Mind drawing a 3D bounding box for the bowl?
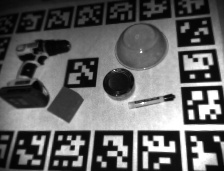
[{"bbox_3d":[0.071,-0.134,0.632,0.161,0.056,0.161,-7,57,12],"label":"bowl"}]

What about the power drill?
[{"bbox_3d":[-0.236,-0.051,0.656,0.184,0.058,0.186,-2,63,8],"label":"power drill"}]

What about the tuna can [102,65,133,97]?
[{"bbox_3d":[0.015,-0.014,0.590,0.085,0.034,0.085,-4,65,9],"label":"tuna can"}]

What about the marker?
[{"bbox_3d":[0.097,0.032,0.557,0.121,0.020,0.019,-12,65,7],"label":"marker"}]

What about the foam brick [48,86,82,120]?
[{"bbox_3d":[-0.129,0.048,0.592,0.051,0.053,0.078,21,74,20],"label":"foam brick"}]
